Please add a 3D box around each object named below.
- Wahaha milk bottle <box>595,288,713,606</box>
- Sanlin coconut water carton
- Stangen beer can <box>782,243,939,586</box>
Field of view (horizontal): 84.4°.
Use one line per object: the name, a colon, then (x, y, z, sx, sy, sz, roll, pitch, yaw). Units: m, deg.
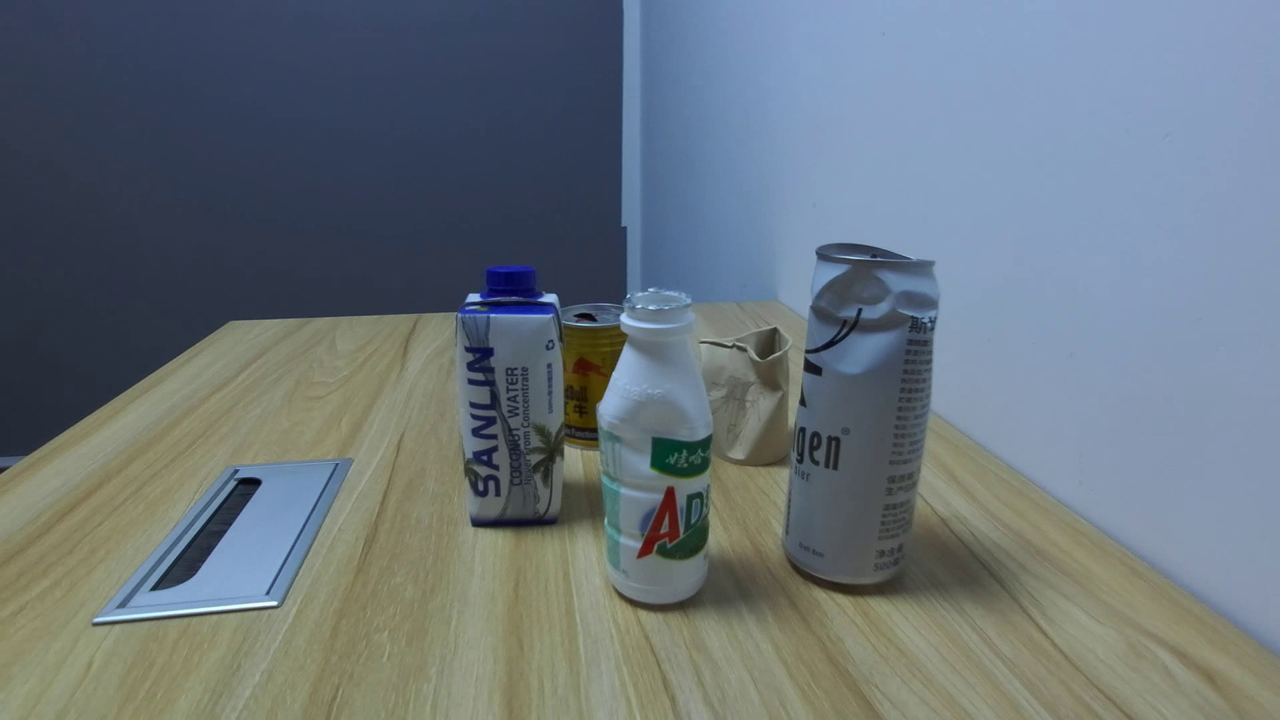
Wahaha milk bottle: (0.009, 0.043, 0.336, 0.055, 0.149, 0.055, 1, 20, 0)
Sanlin coconut water carton: (-0.074, 0.020, 0.414, 0.061, 0.144, 0.060, -1, 19, -6)
Stangen beer can: (0.109, 0.029, 0.352, 0.066, 0.166, 0.066, 8, 20, 22)
